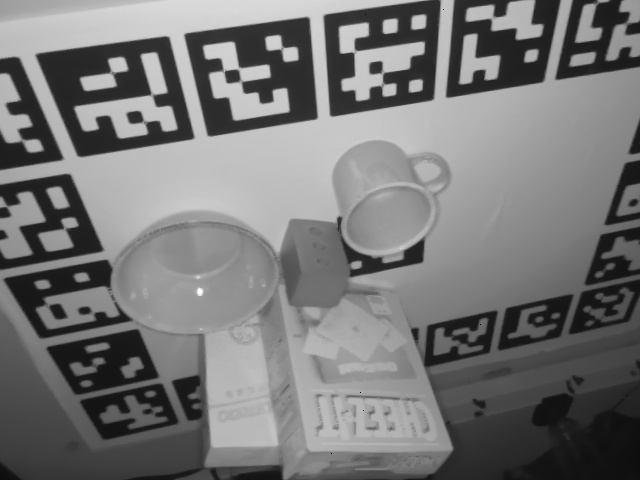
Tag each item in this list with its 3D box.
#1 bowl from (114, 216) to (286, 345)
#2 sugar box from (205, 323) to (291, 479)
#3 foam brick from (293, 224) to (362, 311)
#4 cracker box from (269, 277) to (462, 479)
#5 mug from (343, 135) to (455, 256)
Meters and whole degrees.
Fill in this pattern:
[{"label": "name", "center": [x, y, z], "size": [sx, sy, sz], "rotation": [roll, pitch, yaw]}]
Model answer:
[{"label": "bowl", "center": [-0.116, 0.030, 0.679], "size": [0.163, 0.055, 0.160], "rotation": [-8, 131, -9]}, {"label": "sugar box", "center": [-0.069, 0.165, 0.741], "size": [0.094, 0.177, 0.044], "rotation": [6, 129, -20]}, {"label": "foam brick", "center": [0.006, 0.028, 0.717], "size": [0.053, 0.078, 0.051], "rotation": [1, 131, -17]}, {"label": "cracker box", "center": [0.042, 0.146, 0.733], "size": [0.166, 0.214, 0.071], "rotation": [14, 128, -24]}, {"label": "mug", "center": [0.081, -0.049, 0.657], "size": [0.117, 0.082, 0.093], "rotation": [-18, 141, -2]}]
